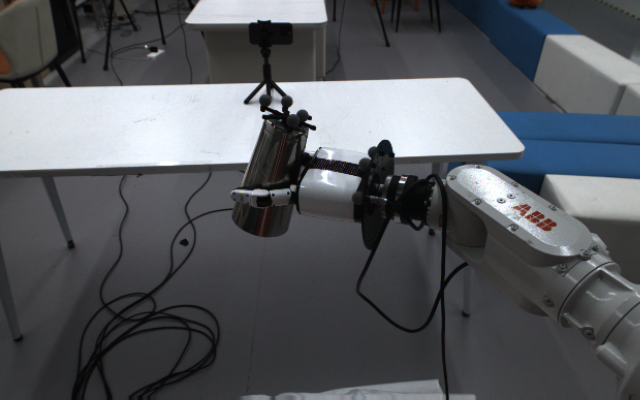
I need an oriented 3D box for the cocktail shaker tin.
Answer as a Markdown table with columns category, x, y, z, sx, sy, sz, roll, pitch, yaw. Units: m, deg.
| category | x | y | z | sx | sy | sz | roll | pitch | yaw |
| --- | --- | --- | --- | --- | --- | --- | --- | --- | --- |
| cocktail shaker tin | -0.071 | -0.042 | 0.732 | 0.093 | 0.170 | 0.093 | 15 | 27 | -8 |
